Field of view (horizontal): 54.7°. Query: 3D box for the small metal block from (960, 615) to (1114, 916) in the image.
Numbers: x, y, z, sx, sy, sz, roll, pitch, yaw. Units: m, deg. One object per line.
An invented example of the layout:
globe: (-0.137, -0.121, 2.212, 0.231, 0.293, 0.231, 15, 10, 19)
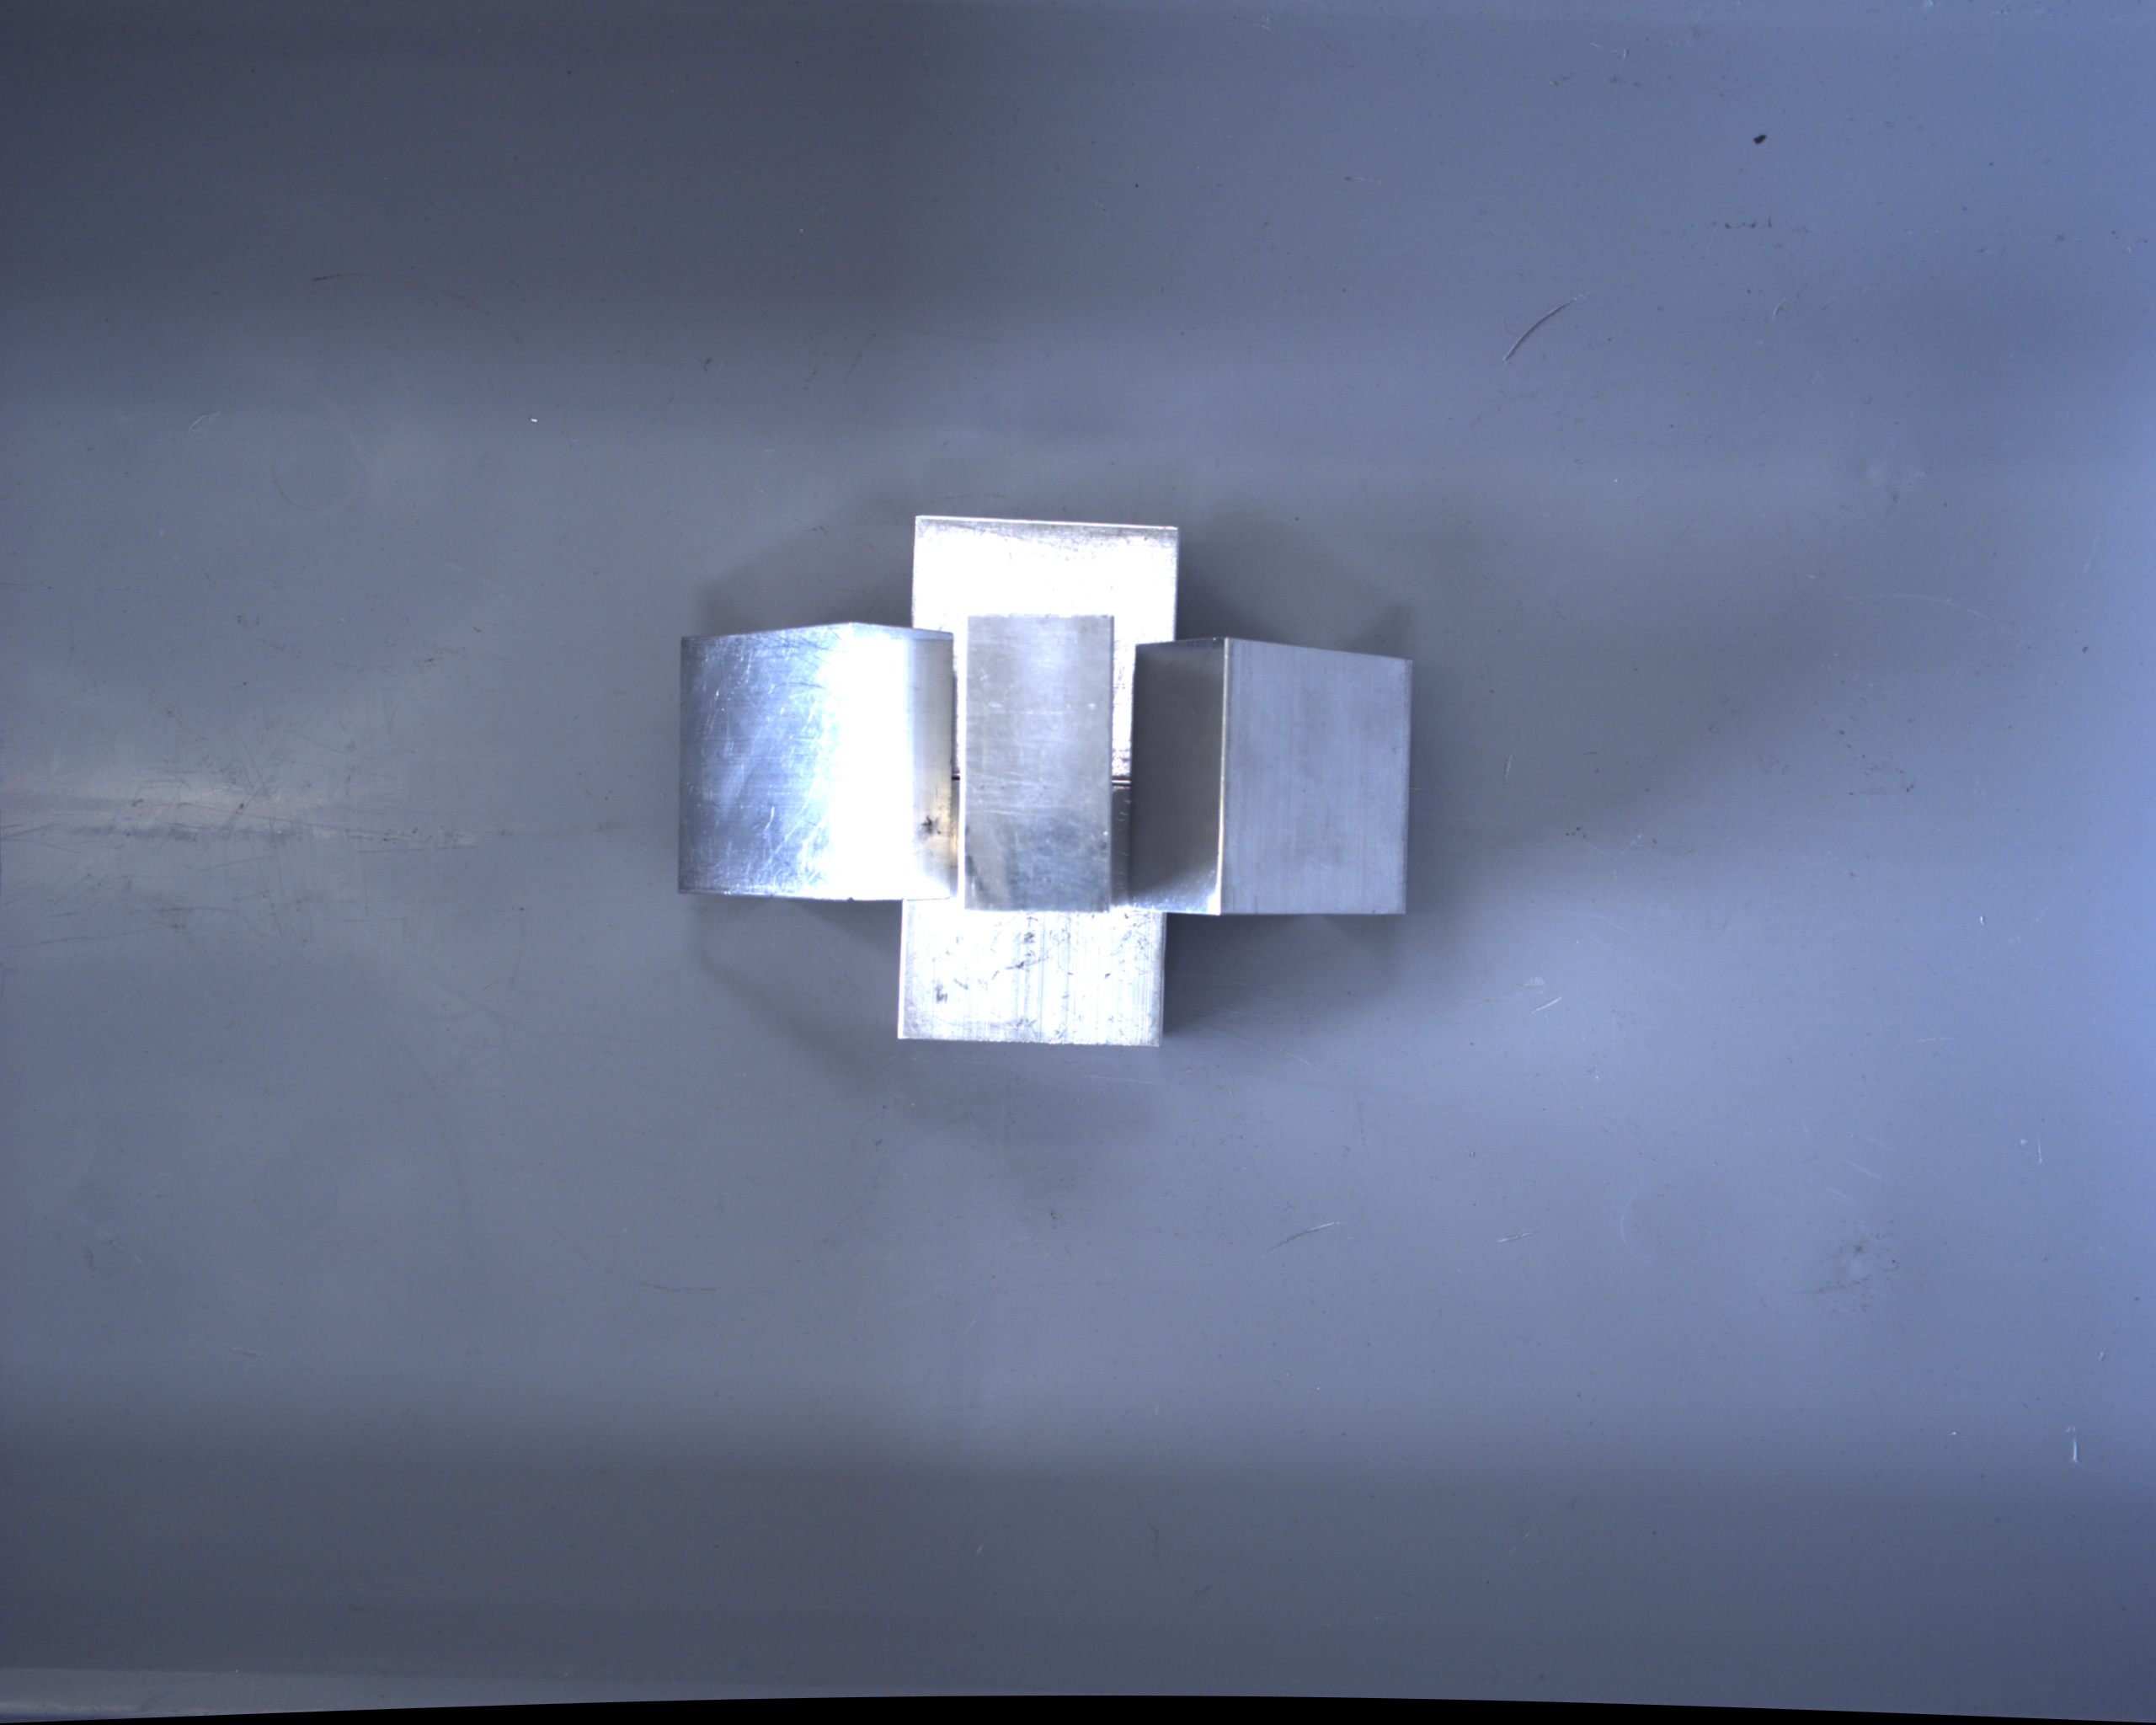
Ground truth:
small metal block: (-0.007, -0.016, 0.371, 0.025, 0.050, 0.050, 1, 90, -1)

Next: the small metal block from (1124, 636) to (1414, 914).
small metal block: (0.037, -0.016, 0.398, 0.050, 0.025, 0.050, 1, 91, -39)

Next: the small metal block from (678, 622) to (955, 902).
small metal block: (-0.050, -0.018, 0.395, 0.050, 0.025, 0.050, 1, 90, 43)

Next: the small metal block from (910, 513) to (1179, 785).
small metal block: (-0.007, -0.040, 0.409, 0.050, 0.025, 0.050, 3, 90, -1)

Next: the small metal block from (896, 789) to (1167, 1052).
small metal block: (-0.008, 0.010, 0.409, 0.050, 0.025, 0.050, 3, 90, 0)
